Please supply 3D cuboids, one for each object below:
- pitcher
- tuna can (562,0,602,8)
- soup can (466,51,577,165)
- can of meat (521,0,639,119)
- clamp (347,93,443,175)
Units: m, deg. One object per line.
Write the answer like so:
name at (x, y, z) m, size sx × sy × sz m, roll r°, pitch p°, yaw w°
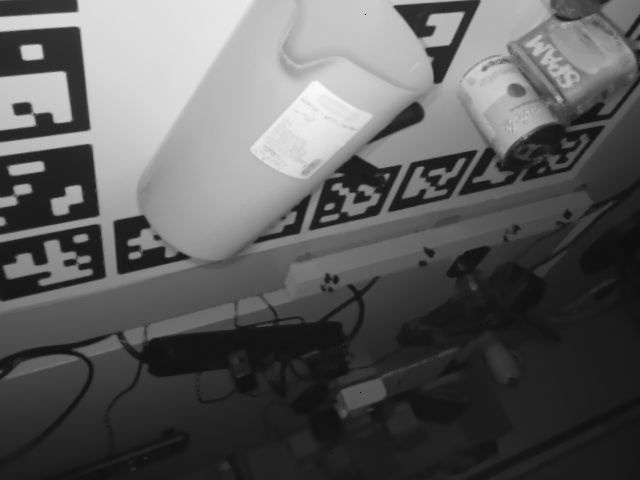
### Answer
pitcher at (-0.026, -0.094, 0.559) m, size 0.192 × 0.133 × 0.238 m, roll -26°, pitch 167°, yaw -49°
tuna can at (0.244, -0.254, 0.621) m, size 0.086 × 0.034 × 0.085 m, roll -20°, pitch 148°, yaw -12°
soup can at (0.204, -0.136, 0.711) m, size 0.068 × 0.102 × 0.067 m, roll -22°, pitch 149°, yaw -13°
can of meat at (0.261, -0.182, 0.673) m, size 0.083 × 0.102 × 0.058 m, roll -34°, pitch 148°, yaw 8°
clamp at (0.036, -0.102, 0.718) m, size 0.167 × 0.036 × 0.120 m, roll -9°, pitch 150°, yaw -21°
